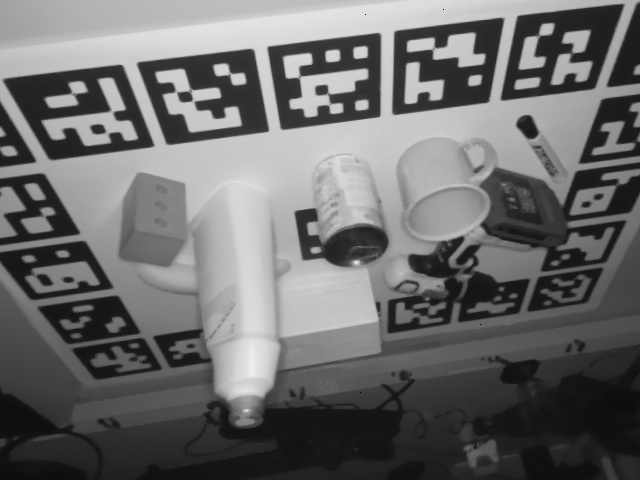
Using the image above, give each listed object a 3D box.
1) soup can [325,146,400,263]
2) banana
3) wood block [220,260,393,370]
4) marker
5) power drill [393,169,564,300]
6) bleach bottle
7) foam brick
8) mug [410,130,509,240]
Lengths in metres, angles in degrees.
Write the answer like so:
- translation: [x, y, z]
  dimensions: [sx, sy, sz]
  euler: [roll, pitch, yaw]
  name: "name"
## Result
- translation: [0.043, -0.037, 0.710]
  dimensions: [0.068, 0.102, 0.067]
  euler: [-5, 145, -3]
  name: "soup can"
- translation: [-0.108, 0.042, 0.831]
  dimensions: [0.199, 0.039, 0.073]
  euler: [3, 125, -12]
  name: "banana"
- translation: [-0.017, 0.102, 0.888]
  dimensions: [0.207, 0.091, 0.089]
  euler: [-9, 140, -1]
  name: "wood block"
- translation: [0.258, -0.112, 0.743]
  dimensions: [0.019, 0.020, 0.122]
  euler: [-30, 136, 21]
  name: "marker"
- translation: [0.206, 0.003, 0.845]
  dimensions: [0.186, 0.058, 0.184]
  euler: [13, 137, -21]
  name: "power drill"
- translation: [-0.071, 0.052, 0.687]
  dimensions: [0.068, 0.252, 0.101]
  euler: [11, 138, -23]
  name: "bleach bottle"
- translation: [-0.163, -0.033, 0.705]
  dimensions: [0.053, 0.078, 0.050]
  euler: [14, 138, -28]
  name: "foam brick"
- translation: [0.148, -0.067, 0.720]
  dimensions: [0.094, 0.082, 0.115]
  euler: [24, 127, -31]
  name: "mug"
